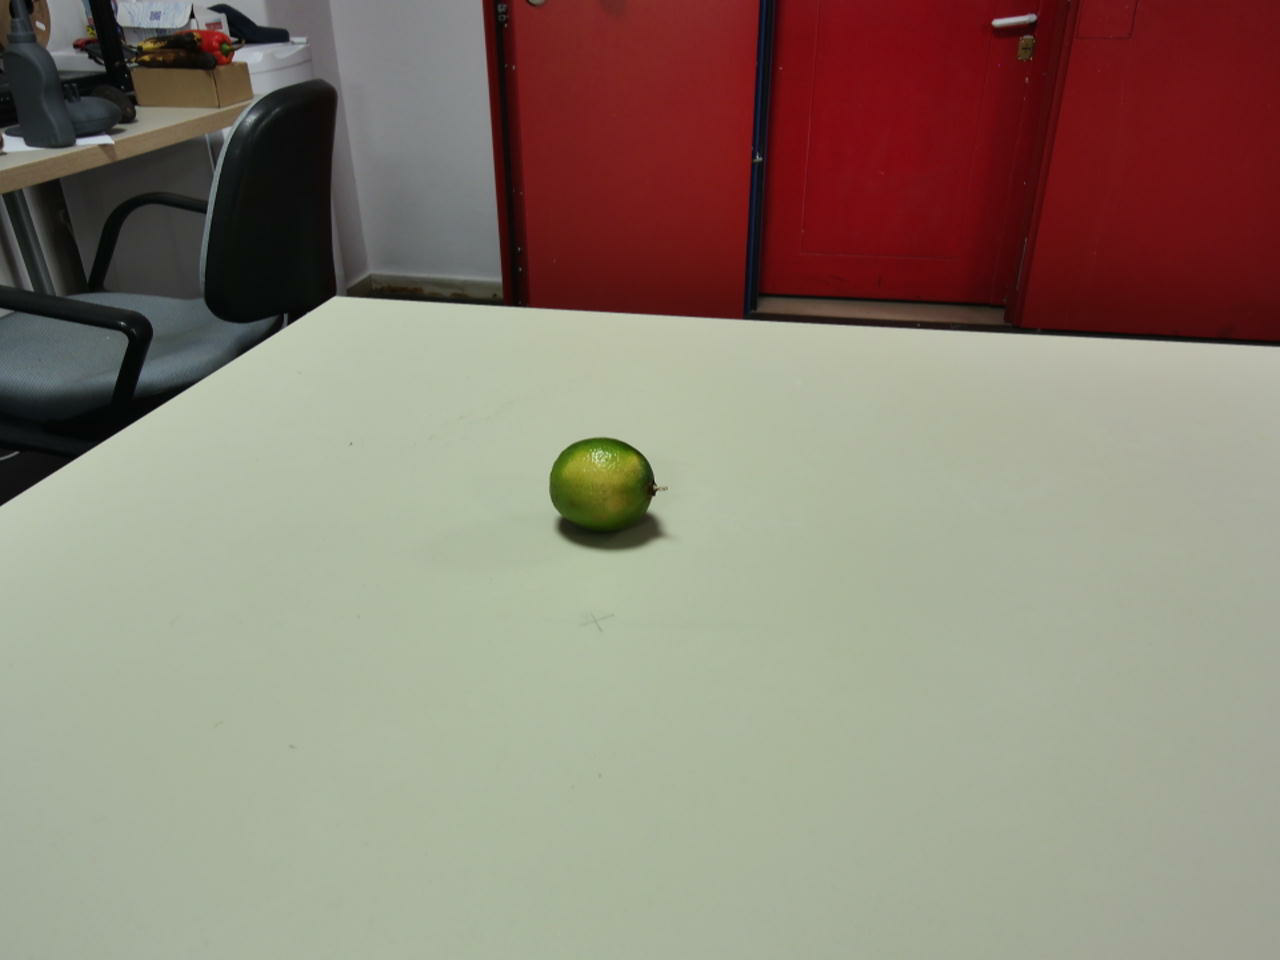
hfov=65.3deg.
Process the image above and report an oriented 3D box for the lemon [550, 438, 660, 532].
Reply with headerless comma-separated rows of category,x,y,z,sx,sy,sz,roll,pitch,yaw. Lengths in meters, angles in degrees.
lemon,-0.021,0.002,0.542,0.054,0.050,0.055,-12,28,-25
